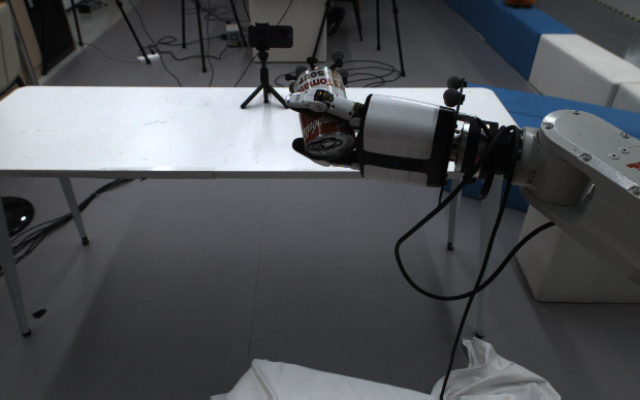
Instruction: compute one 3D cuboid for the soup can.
[{"bbox_3d":[0.007,-0.112,0.629,0.067,0.067,0.101,-6,67,-12],"label":"soup can"}]
